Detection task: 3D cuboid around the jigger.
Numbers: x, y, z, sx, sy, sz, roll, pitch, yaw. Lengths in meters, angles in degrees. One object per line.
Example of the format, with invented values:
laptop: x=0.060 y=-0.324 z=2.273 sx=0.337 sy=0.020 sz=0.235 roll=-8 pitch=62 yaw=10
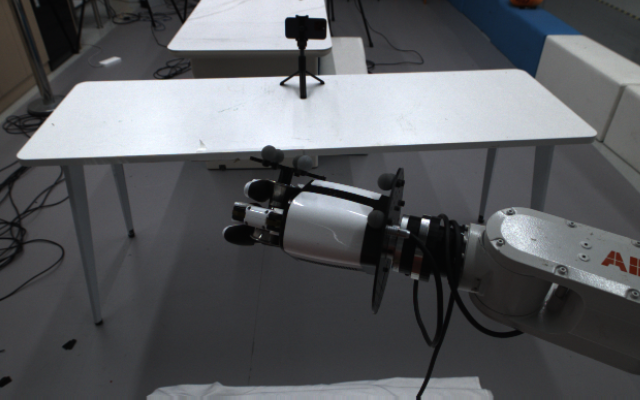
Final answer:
jigger: x=-0.051 y=0.013 z=0.549 sx=0.043 sy=0.071 sz=0.043 roll=16 pitch=2 yaw=-1
